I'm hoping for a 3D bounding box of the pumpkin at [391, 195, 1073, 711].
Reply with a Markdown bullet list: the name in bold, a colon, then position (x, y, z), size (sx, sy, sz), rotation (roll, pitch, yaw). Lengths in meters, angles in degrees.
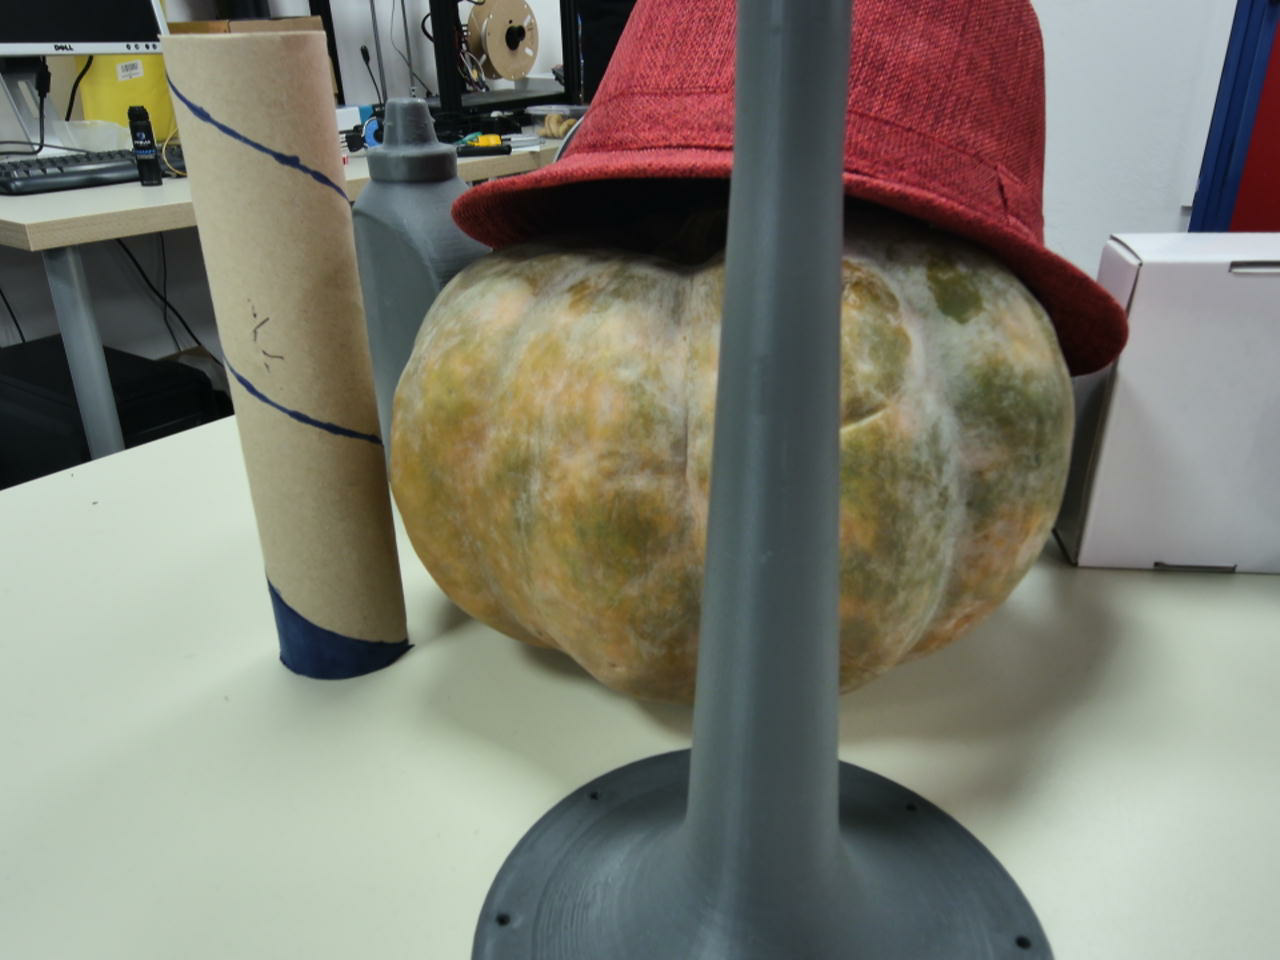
- **pumpkin**: position (0.029, -0.022, 0.381), size (0.252, 0.169, 0.251), rotation (0, 23, 0)
